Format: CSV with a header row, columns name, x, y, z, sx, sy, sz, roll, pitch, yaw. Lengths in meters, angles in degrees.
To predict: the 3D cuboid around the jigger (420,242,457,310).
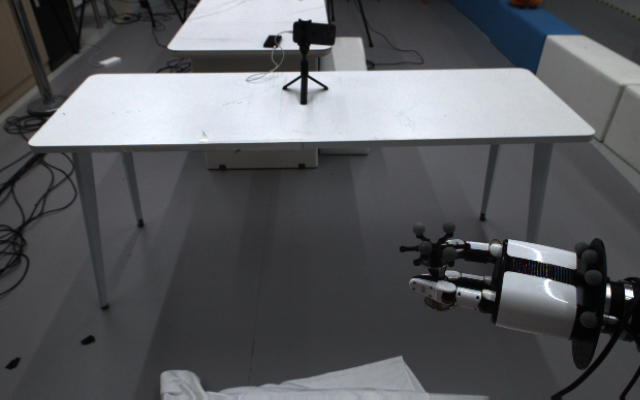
name,x,y,z,sx,sy,sz,roll,pitch,yaw
jigger,0.159,0.105,0.650,0.043,0.071,0.043,-11,23,5
